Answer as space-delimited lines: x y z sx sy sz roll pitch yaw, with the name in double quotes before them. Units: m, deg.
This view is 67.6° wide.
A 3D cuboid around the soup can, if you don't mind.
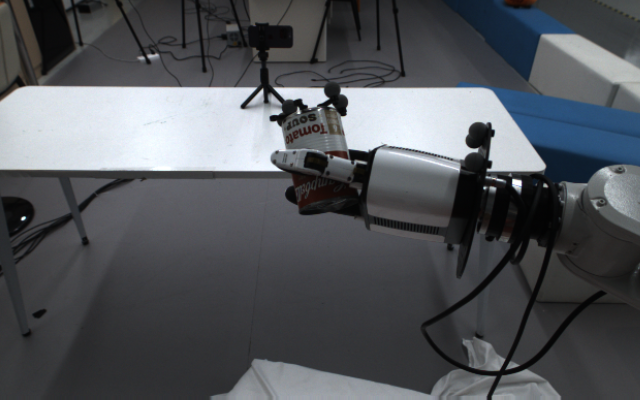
"soup can" 0.001 -0.041 0.526 0.067 0.067 0.101 -10 80 -17
